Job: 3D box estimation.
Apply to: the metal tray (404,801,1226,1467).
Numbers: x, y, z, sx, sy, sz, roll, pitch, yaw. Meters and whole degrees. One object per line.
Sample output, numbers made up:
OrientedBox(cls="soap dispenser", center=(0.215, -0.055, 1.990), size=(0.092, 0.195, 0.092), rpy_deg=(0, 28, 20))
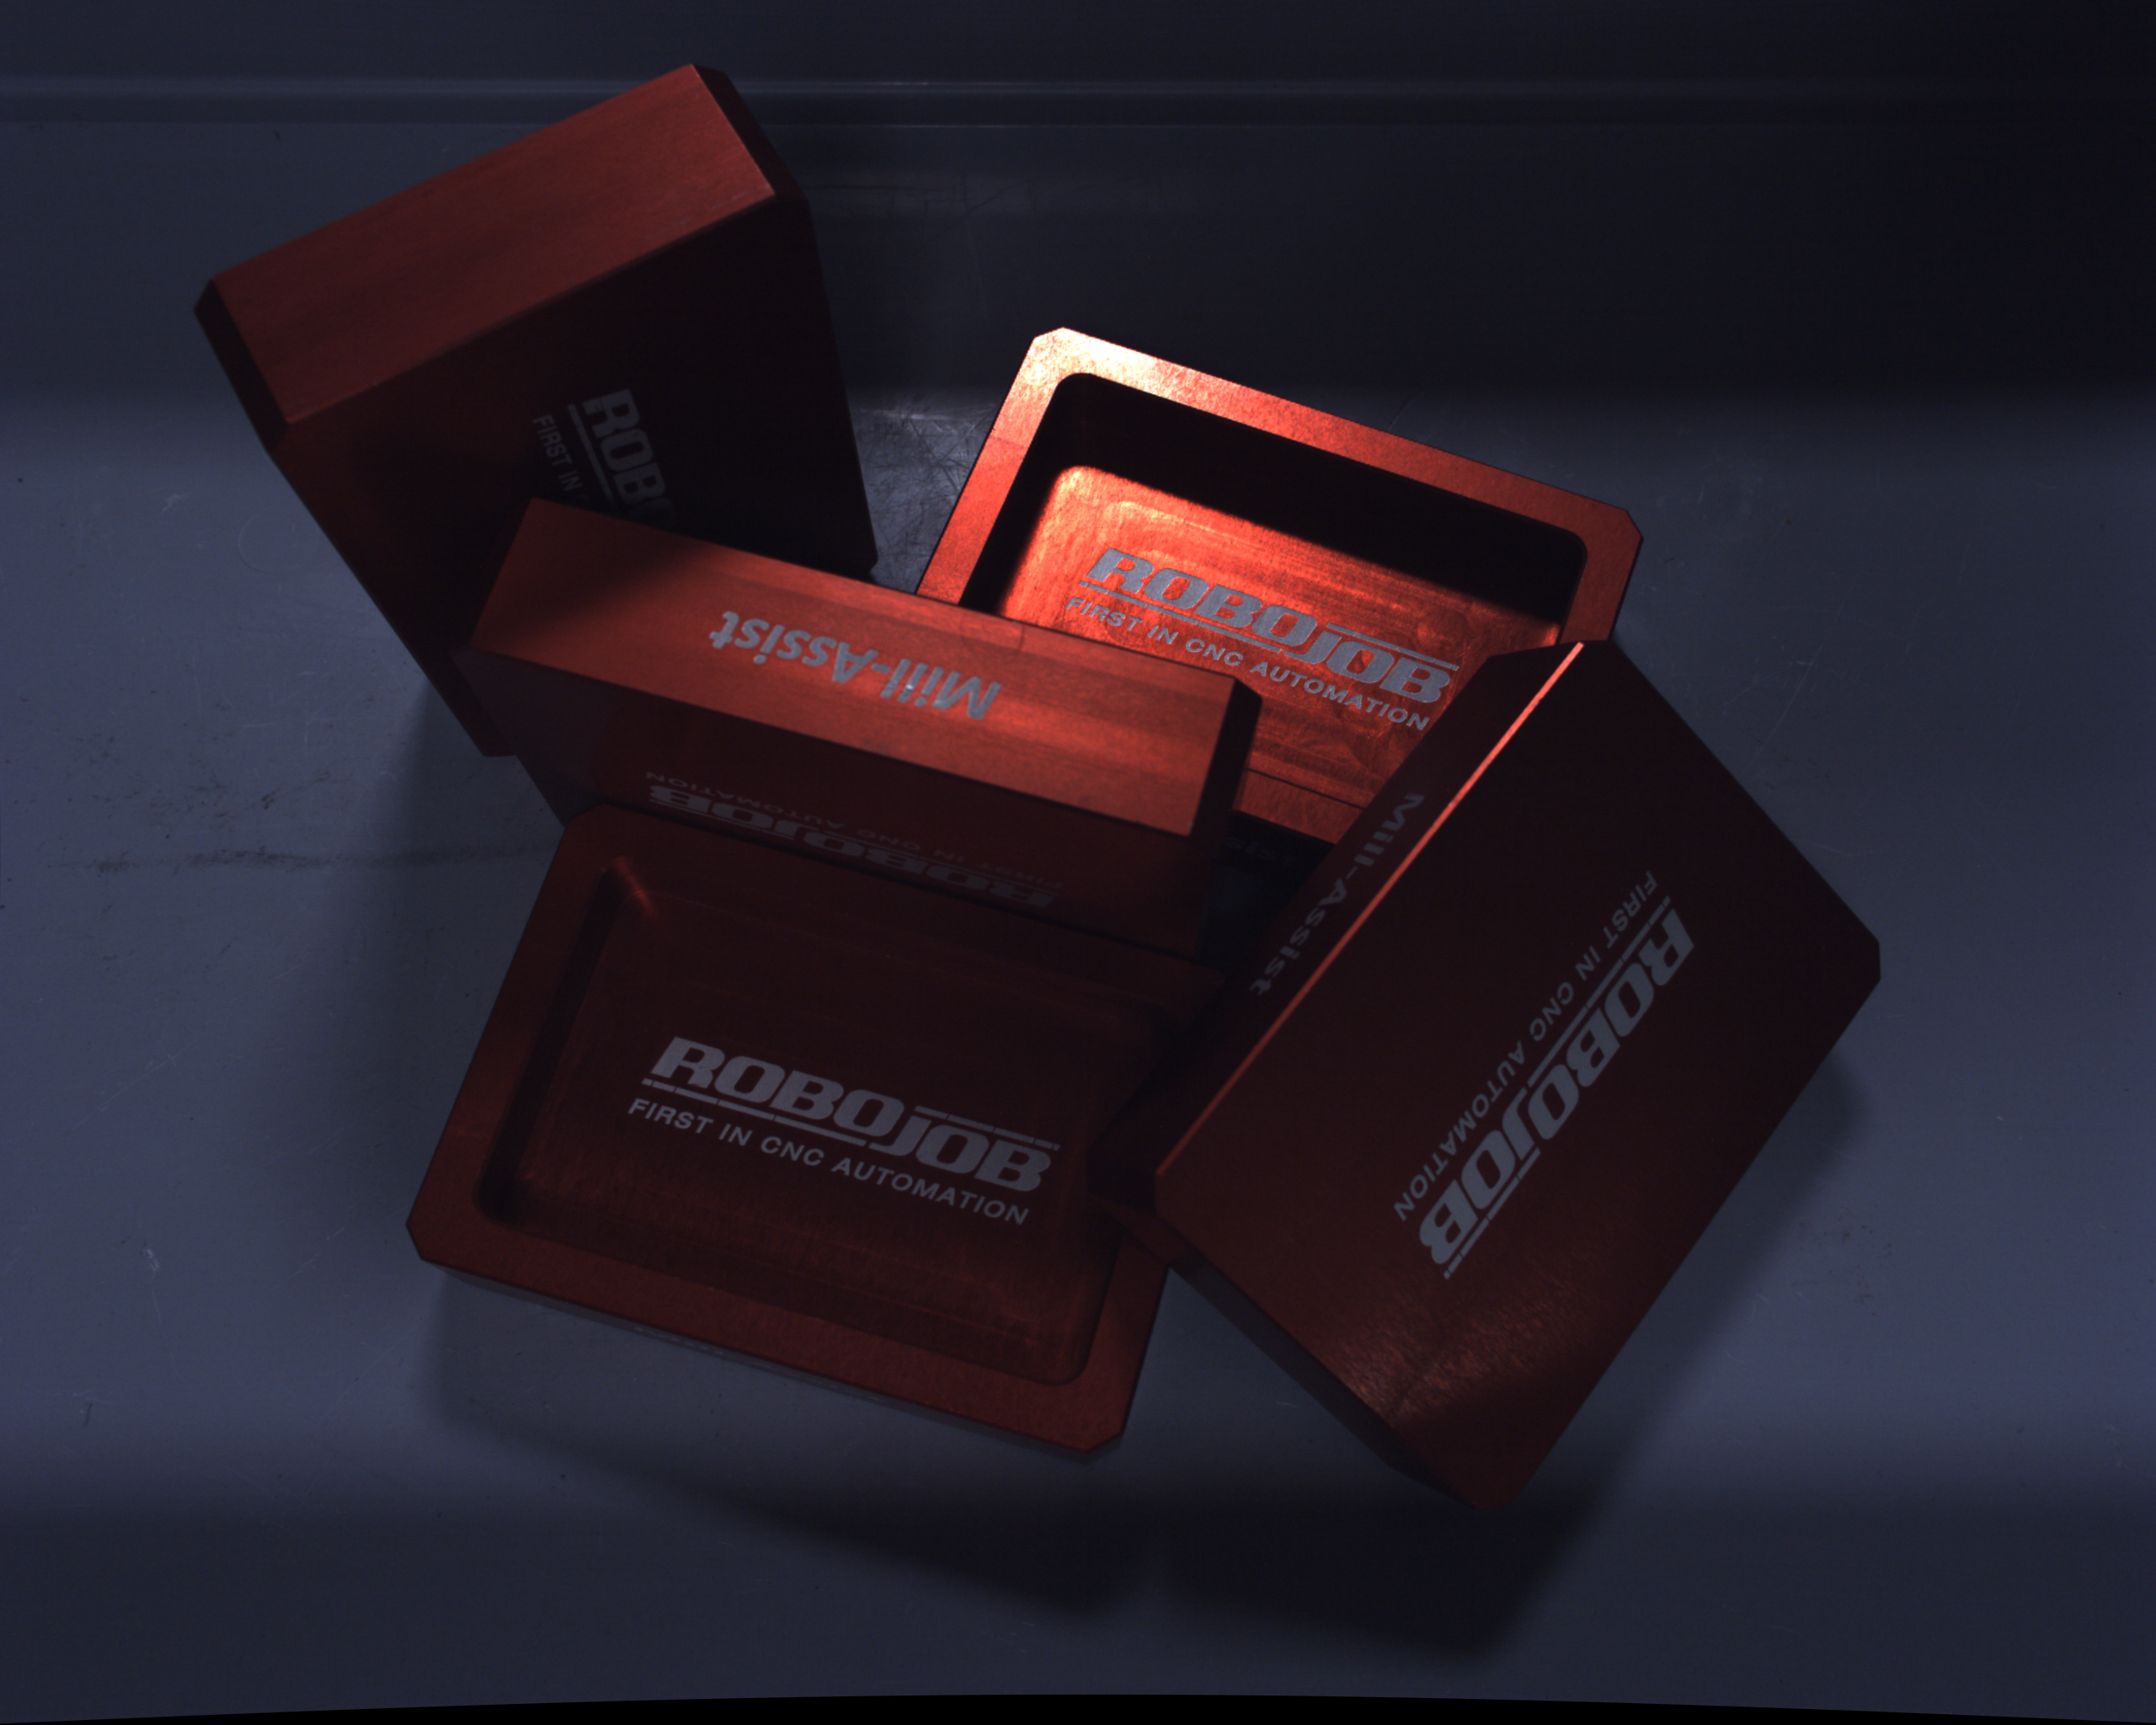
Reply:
OrientedBox(cls="metal tray", center=(-0.044, 0.049, 0.385), size=(0.131, 0.030, 0.090), rpy_deg=(15, 71, 5))

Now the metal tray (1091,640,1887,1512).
OrientedBox(cls="metal tray", center=(0.076, 0.036, 0.372), size=(0.090, 0.030, 0.130), rpy_deg=(45, 74, -15))

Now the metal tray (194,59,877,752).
OrientedBox(cls="metal tray", center=(-0.088, -0.075, 0.377), size=(0.090, 0.130, 0.030), rpy_deg=(-29, 73, -10))

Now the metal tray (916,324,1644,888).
OrientedBox(cls="metal tray", center=(0.037, -0.047, 0.423), size=(0.131, 0.030, 0.090), rpy_deg=(20, 71, 6))

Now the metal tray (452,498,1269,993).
OrientedBox(cls="metal tray", center=(-0.036, -0.017, 0.378), size=(0.131, 0.090, 0.030), rpy_deg=(15, 71, 5))
